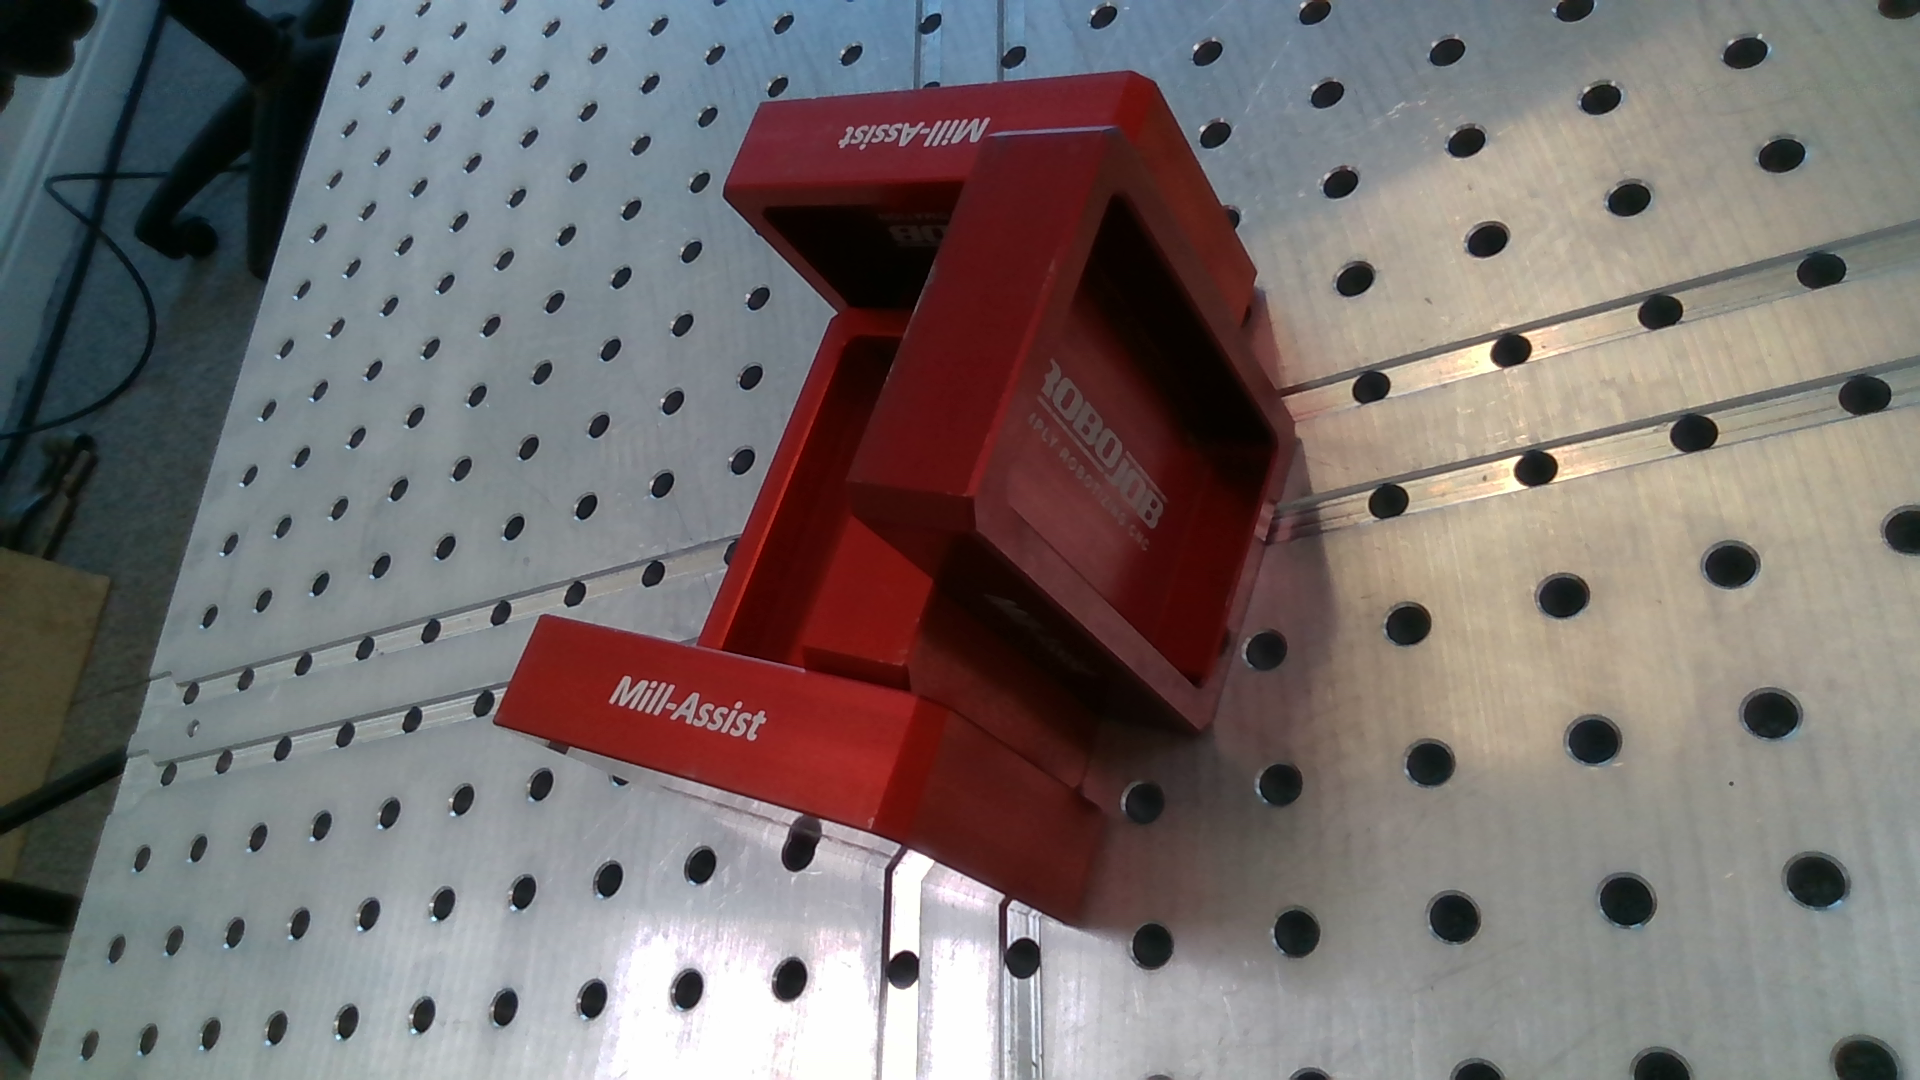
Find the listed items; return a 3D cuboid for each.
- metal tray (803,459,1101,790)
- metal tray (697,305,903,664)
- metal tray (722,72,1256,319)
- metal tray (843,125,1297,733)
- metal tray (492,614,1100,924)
[{"bbox_3d":[0.018,-0.011,0.348,0.030,0.090,0.130,8,71,35],"label":"metal tray"},{"bbox_3d":[-0.018,-0.005,0.406,0.090,0.030,0.130,8,71,35],"label":"metal tray"},{"bbox_3d":[0.008,-0.088,0.395,0.130,0.090,0.030,8,70,34],"label":"metal tray"},{"bbox_3d":[0.034,-0.019,0.316,0.030,0.130,0.090,9,71,35],"label":"metal tray"},{"bbox_3d":[-0.042,0.057,0.348,0.130,0.090,0.030,8,70,34],"label":"metal tray"}]
